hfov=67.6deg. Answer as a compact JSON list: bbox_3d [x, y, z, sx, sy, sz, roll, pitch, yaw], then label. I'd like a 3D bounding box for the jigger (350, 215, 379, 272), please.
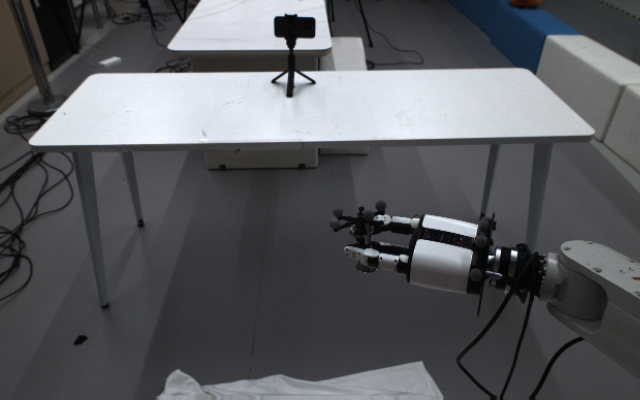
[{"bbox_3d":[0.073,0.076,0.778,0.043,0.071,0.043,-12,24,5],"label":"jigger"}]
